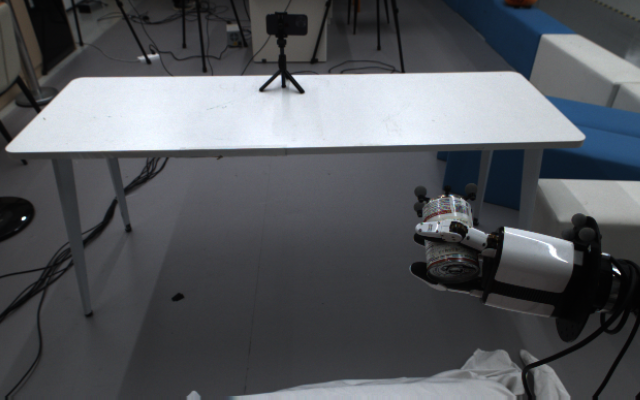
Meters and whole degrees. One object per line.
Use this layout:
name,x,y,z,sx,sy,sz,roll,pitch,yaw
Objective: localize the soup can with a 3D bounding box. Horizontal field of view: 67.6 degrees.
soup can,0.176,0.052,0.651,0.067,0.067,0.101,3,57,1
